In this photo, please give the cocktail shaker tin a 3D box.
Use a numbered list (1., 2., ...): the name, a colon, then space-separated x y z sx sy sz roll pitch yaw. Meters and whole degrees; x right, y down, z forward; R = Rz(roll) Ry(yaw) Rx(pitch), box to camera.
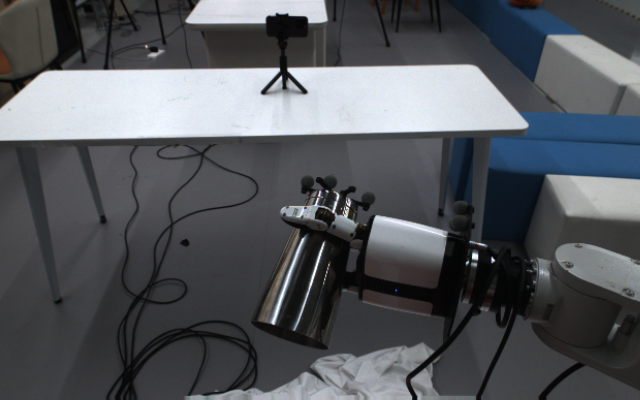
1. cocktail shaker tin: -0.005 0.074 0.568 0.093 0.093 0.170 12 65 14
